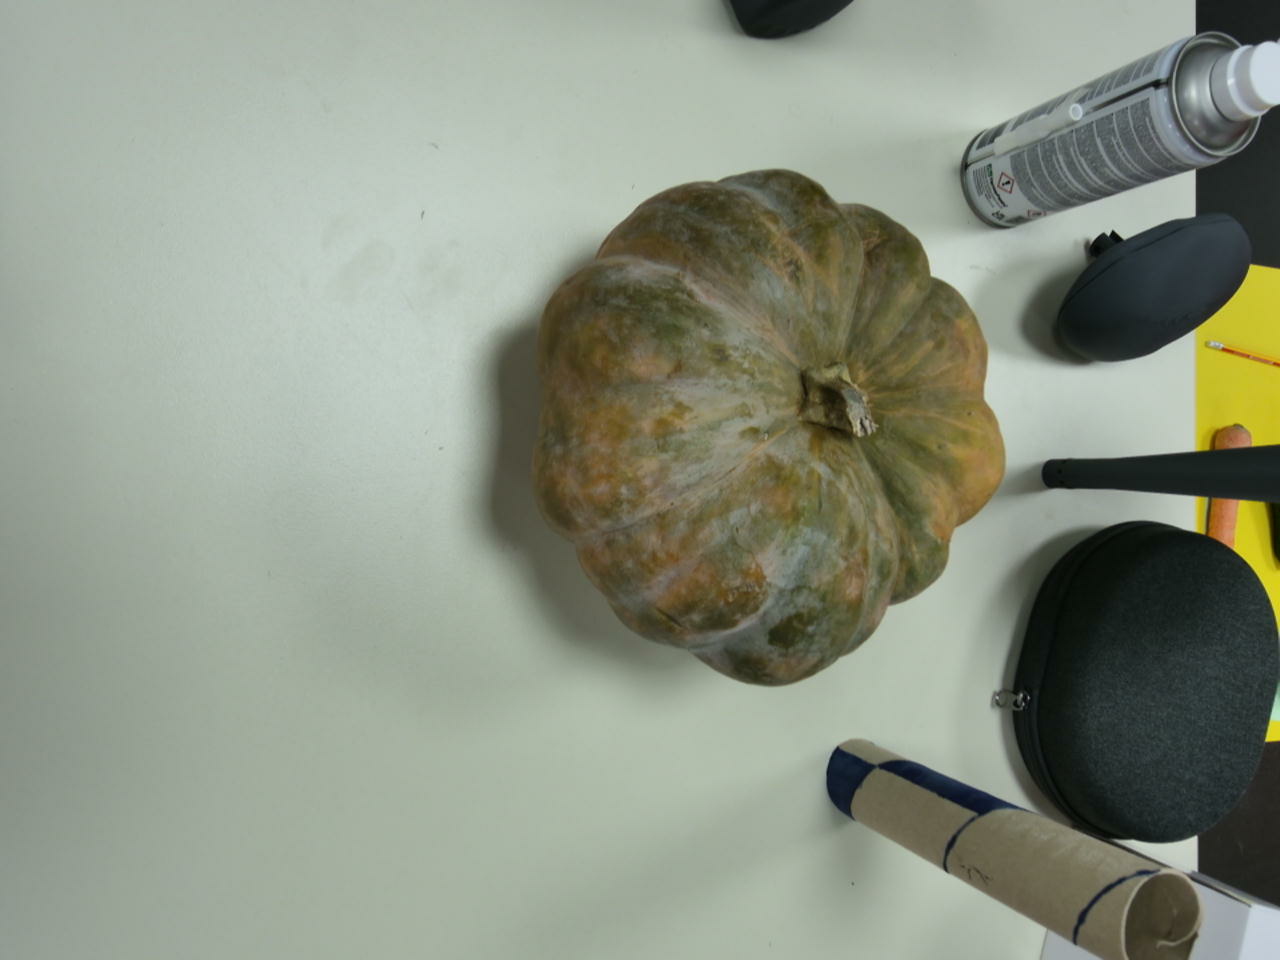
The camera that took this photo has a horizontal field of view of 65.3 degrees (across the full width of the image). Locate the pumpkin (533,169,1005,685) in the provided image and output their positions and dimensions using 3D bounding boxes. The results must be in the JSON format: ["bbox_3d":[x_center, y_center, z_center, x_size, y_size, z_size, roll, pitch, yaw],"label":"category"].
[{"bbox_3d":[0.063,-0.032,0.506,0.252,0.169,0.252,0,91,-22],"label":"pumpkin"}]
